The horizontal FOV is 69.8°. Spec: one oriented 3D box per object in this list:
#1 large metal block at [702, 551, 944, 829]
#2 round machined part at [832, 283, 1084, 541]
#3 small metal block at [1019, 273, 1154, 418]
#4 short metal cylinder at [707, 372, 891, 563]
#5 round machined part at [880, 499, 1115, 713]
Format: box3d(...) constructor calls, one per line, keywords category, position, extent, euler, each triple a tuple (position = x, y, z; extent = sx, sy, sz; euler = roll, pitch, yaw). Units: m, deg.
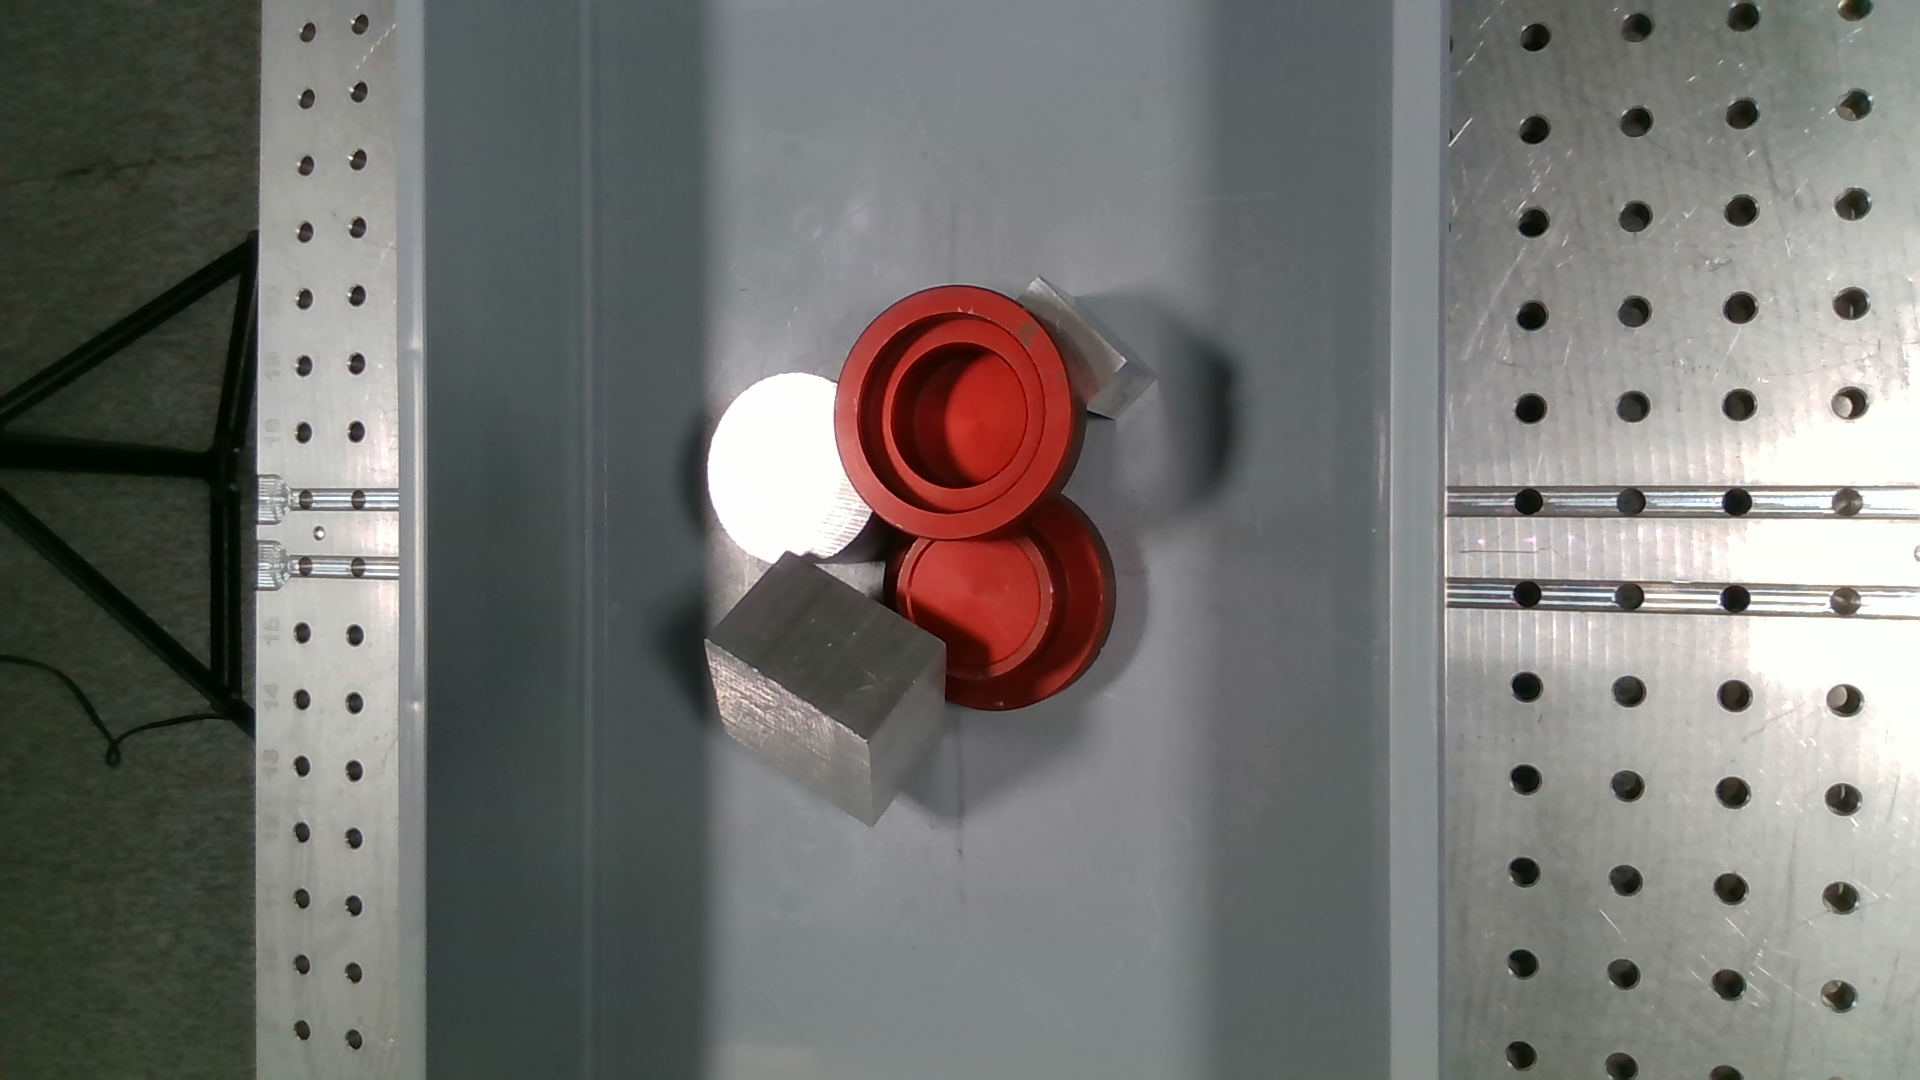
box3d(category="large metal block", position=(-0.055, 0.063, 0.569), extent=(0.080, 0.080, 0.050), euler=(30, 59, 17))
box3d(category="round machined part", position=(0.002, -0.049, 0.543), extent=(0.098, 0.042, 0.098), euler=(0, 91, 20))
box3d(category="small metal block", position=(0.047, -0.077, 0.552), extent=(0.050, 0.050, 0.025), euler=(46, 105, 15))
box3d(category="short metal cylinder", position=(-0.061, -0.029, 0.593), extent=(0.080, 0.050, 0.080), euler=(0, 90, 20))
box3d(category="round machined part", position=(0.011, 0.023, 0.569), extent=(0.098, 0.042, 0.098), euler=(0, 91, 20))
